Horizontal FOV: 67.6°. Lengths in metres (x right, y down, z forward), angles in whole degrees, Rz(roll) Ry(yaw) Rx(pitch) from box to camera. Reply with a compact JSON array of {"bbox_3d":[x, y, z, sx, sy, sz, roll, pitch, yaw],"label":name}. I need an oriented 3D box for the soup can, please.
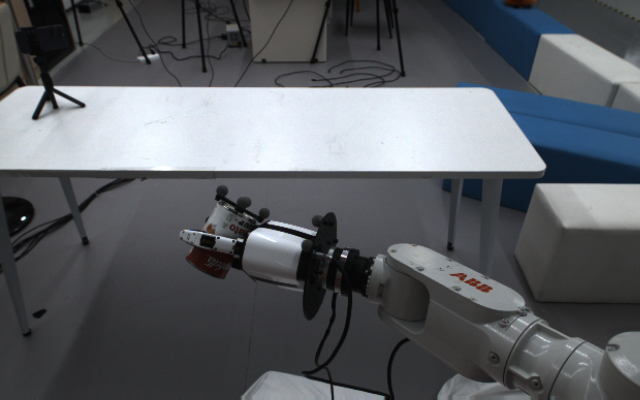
[{"bbox_3d":[-0.150,0.061,0.736,0.067,0.101,0.067,30,-2,1],"label":"soup can"}]
